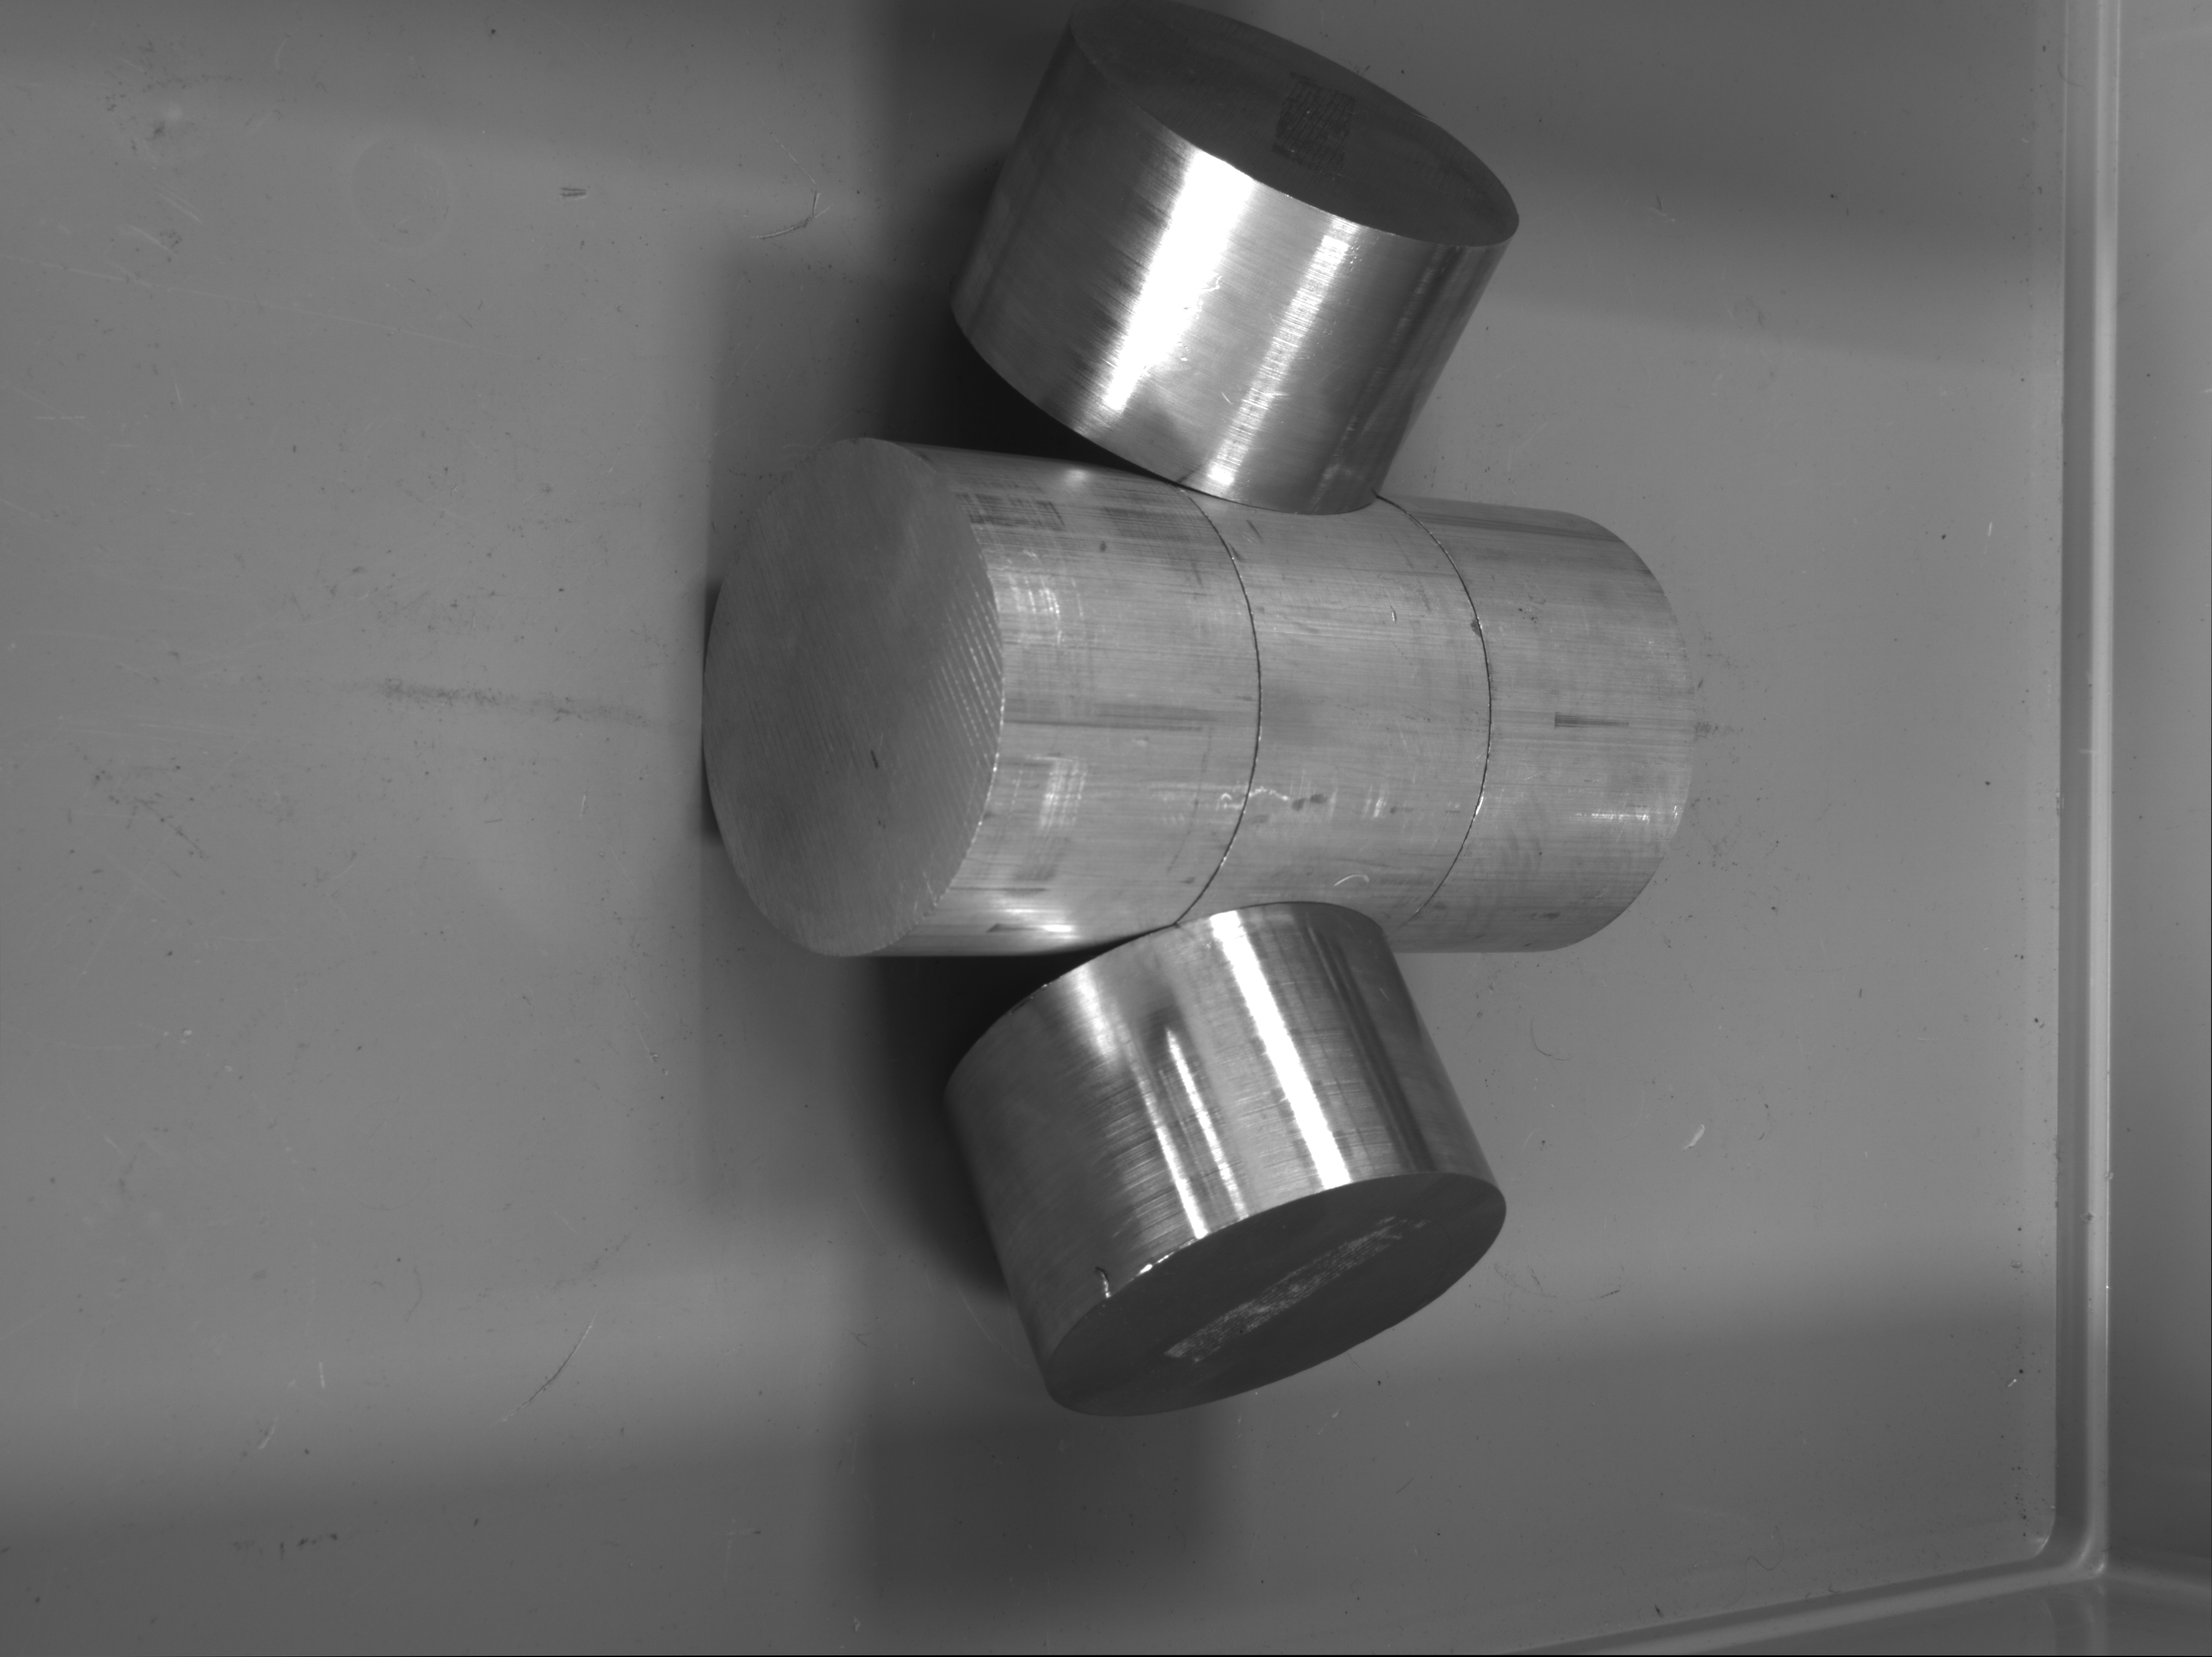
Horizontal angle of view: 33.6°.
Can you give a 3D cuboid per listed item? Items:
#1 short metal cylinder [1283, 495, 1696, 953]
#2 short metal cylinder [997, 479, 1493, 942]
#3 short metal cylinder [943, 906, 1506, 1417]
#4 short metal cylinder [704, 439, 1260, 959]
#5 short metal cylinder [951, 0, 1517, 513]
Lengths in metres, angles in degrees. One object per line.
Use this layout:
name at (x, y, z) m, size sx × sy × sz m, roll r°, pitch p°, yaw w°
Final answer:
short metal cylinder at (0.057, -0.018, 0.646) m, size 0.050 × 0.080 × 0.080 m, roll 2°, pitch 89°, yaw -39°
short metal cylinder at (0.019, -0.019, 0.614) m, size 0.050 × 0.080 × 0.080 m, roll 2°, pitch 89°, yaw -39°
short metal cylinder at (0.019, 0.056, 0.605) m, size 0.080 × 0.080 × 0.050 m, roll 0°, pitch 55°, yaw -40°
short metal cylinder at (-0.021, -0.019, 0.581) m, size 0.050 × 0.080 × 0.080 m, roll 2°, pitch 89°, yaw -39°
short metal cylinder at (0.021, -0.096, 0.606) m, size 0.080 × 0.080 × 0.050 m, roll 2°, pitch 126°, yaw -40°
